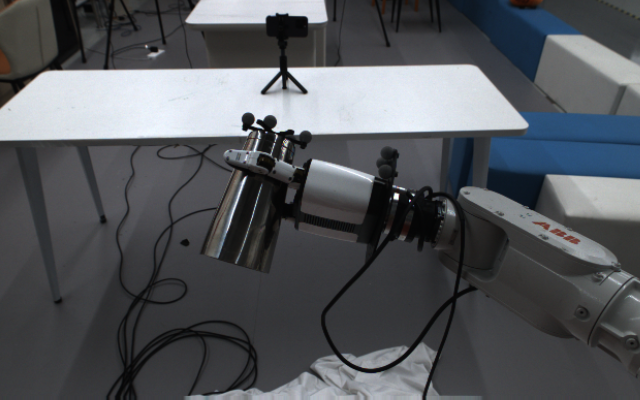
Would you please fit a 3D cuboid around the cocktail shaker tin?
[{"bbox_3d":[-0.083,-0.001,0.630,0.093,0.093,0.170,13,79,15],"label":"cocktail shaker tin"}]
